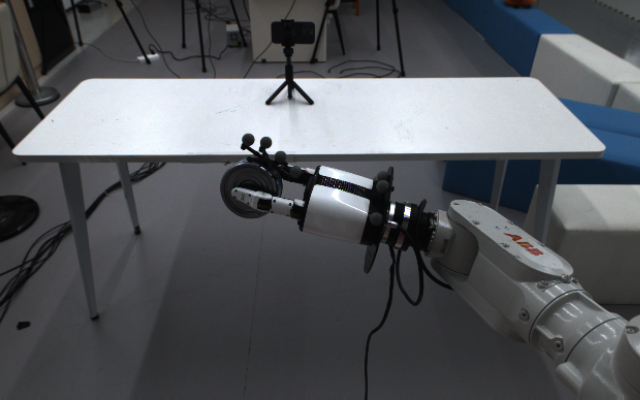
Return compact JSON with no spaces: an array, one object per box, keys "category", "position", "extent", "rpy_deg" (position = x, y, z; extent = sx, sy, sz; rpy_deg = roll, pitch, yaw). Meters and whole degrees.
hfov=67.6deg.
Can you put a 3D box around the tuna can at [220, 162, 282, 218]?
[{"category":"tuna can","position":[-0.096,-0.011,0.695],"extent":[0.085,0.085,0.034],"rpy_deg":[6,19,6]}]
